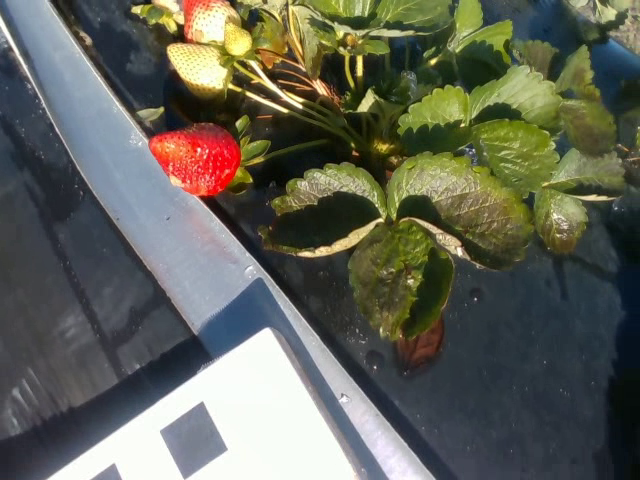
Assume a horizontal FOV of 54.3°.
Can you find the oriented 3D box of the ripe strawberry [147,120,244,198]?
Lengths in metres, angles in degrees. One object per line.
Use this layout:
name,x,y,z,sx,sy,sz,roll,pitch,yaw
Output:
ripe strawberry,-0.054,-0.036,0.250,0.038,0.036,0.045,-41,-27,15
